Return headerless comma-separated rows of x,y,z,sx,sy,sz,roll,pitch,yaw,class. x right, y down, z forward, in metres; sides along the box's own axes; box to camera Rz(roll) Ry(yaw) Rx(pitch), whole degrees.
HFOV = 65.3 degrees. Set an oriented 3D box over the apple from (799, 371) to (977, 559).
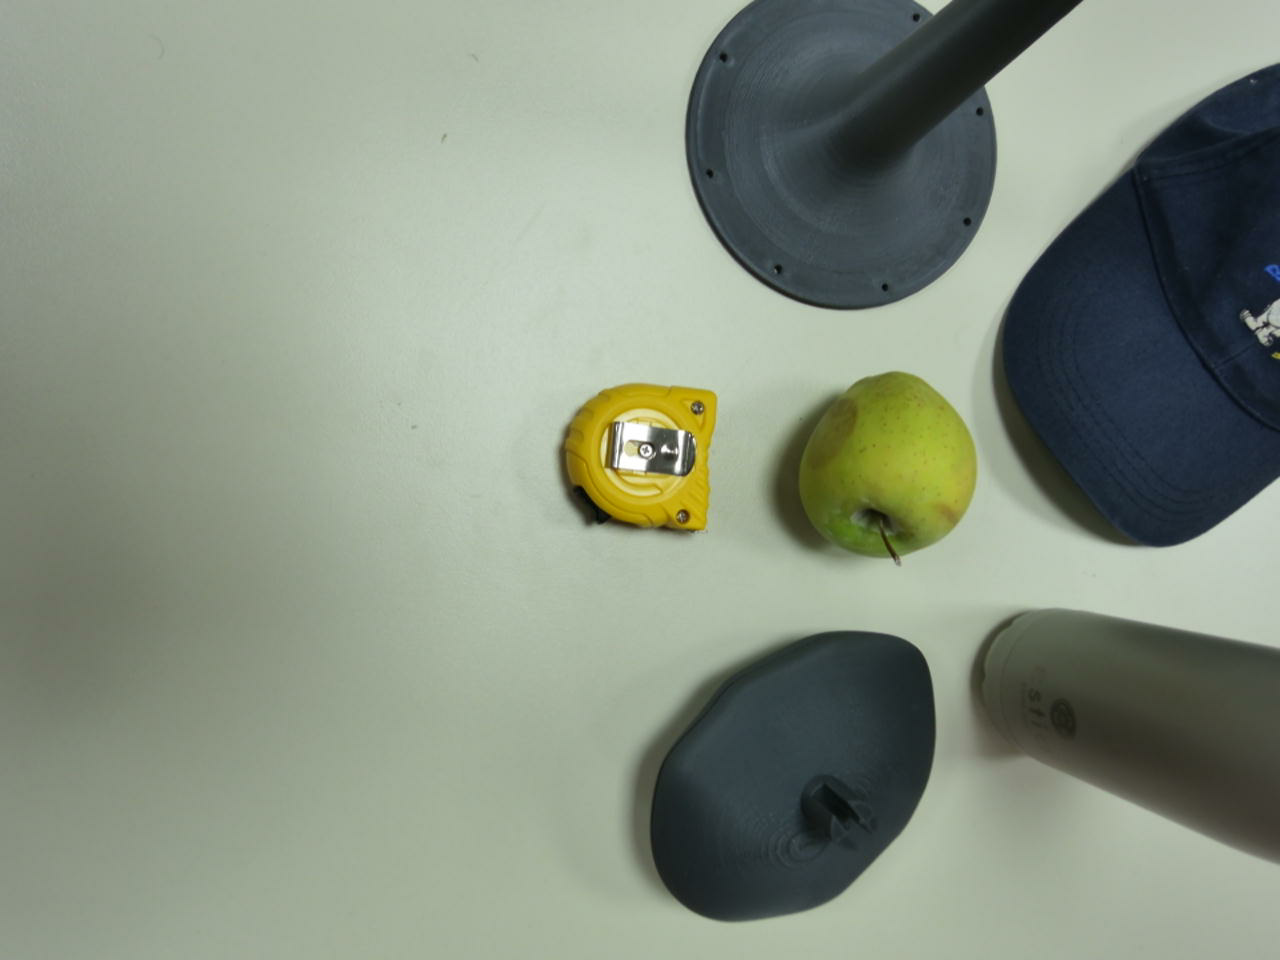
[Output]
0.105,-0.005,0.422,0.077,0.075,0.072,-36,97,-9,apple
